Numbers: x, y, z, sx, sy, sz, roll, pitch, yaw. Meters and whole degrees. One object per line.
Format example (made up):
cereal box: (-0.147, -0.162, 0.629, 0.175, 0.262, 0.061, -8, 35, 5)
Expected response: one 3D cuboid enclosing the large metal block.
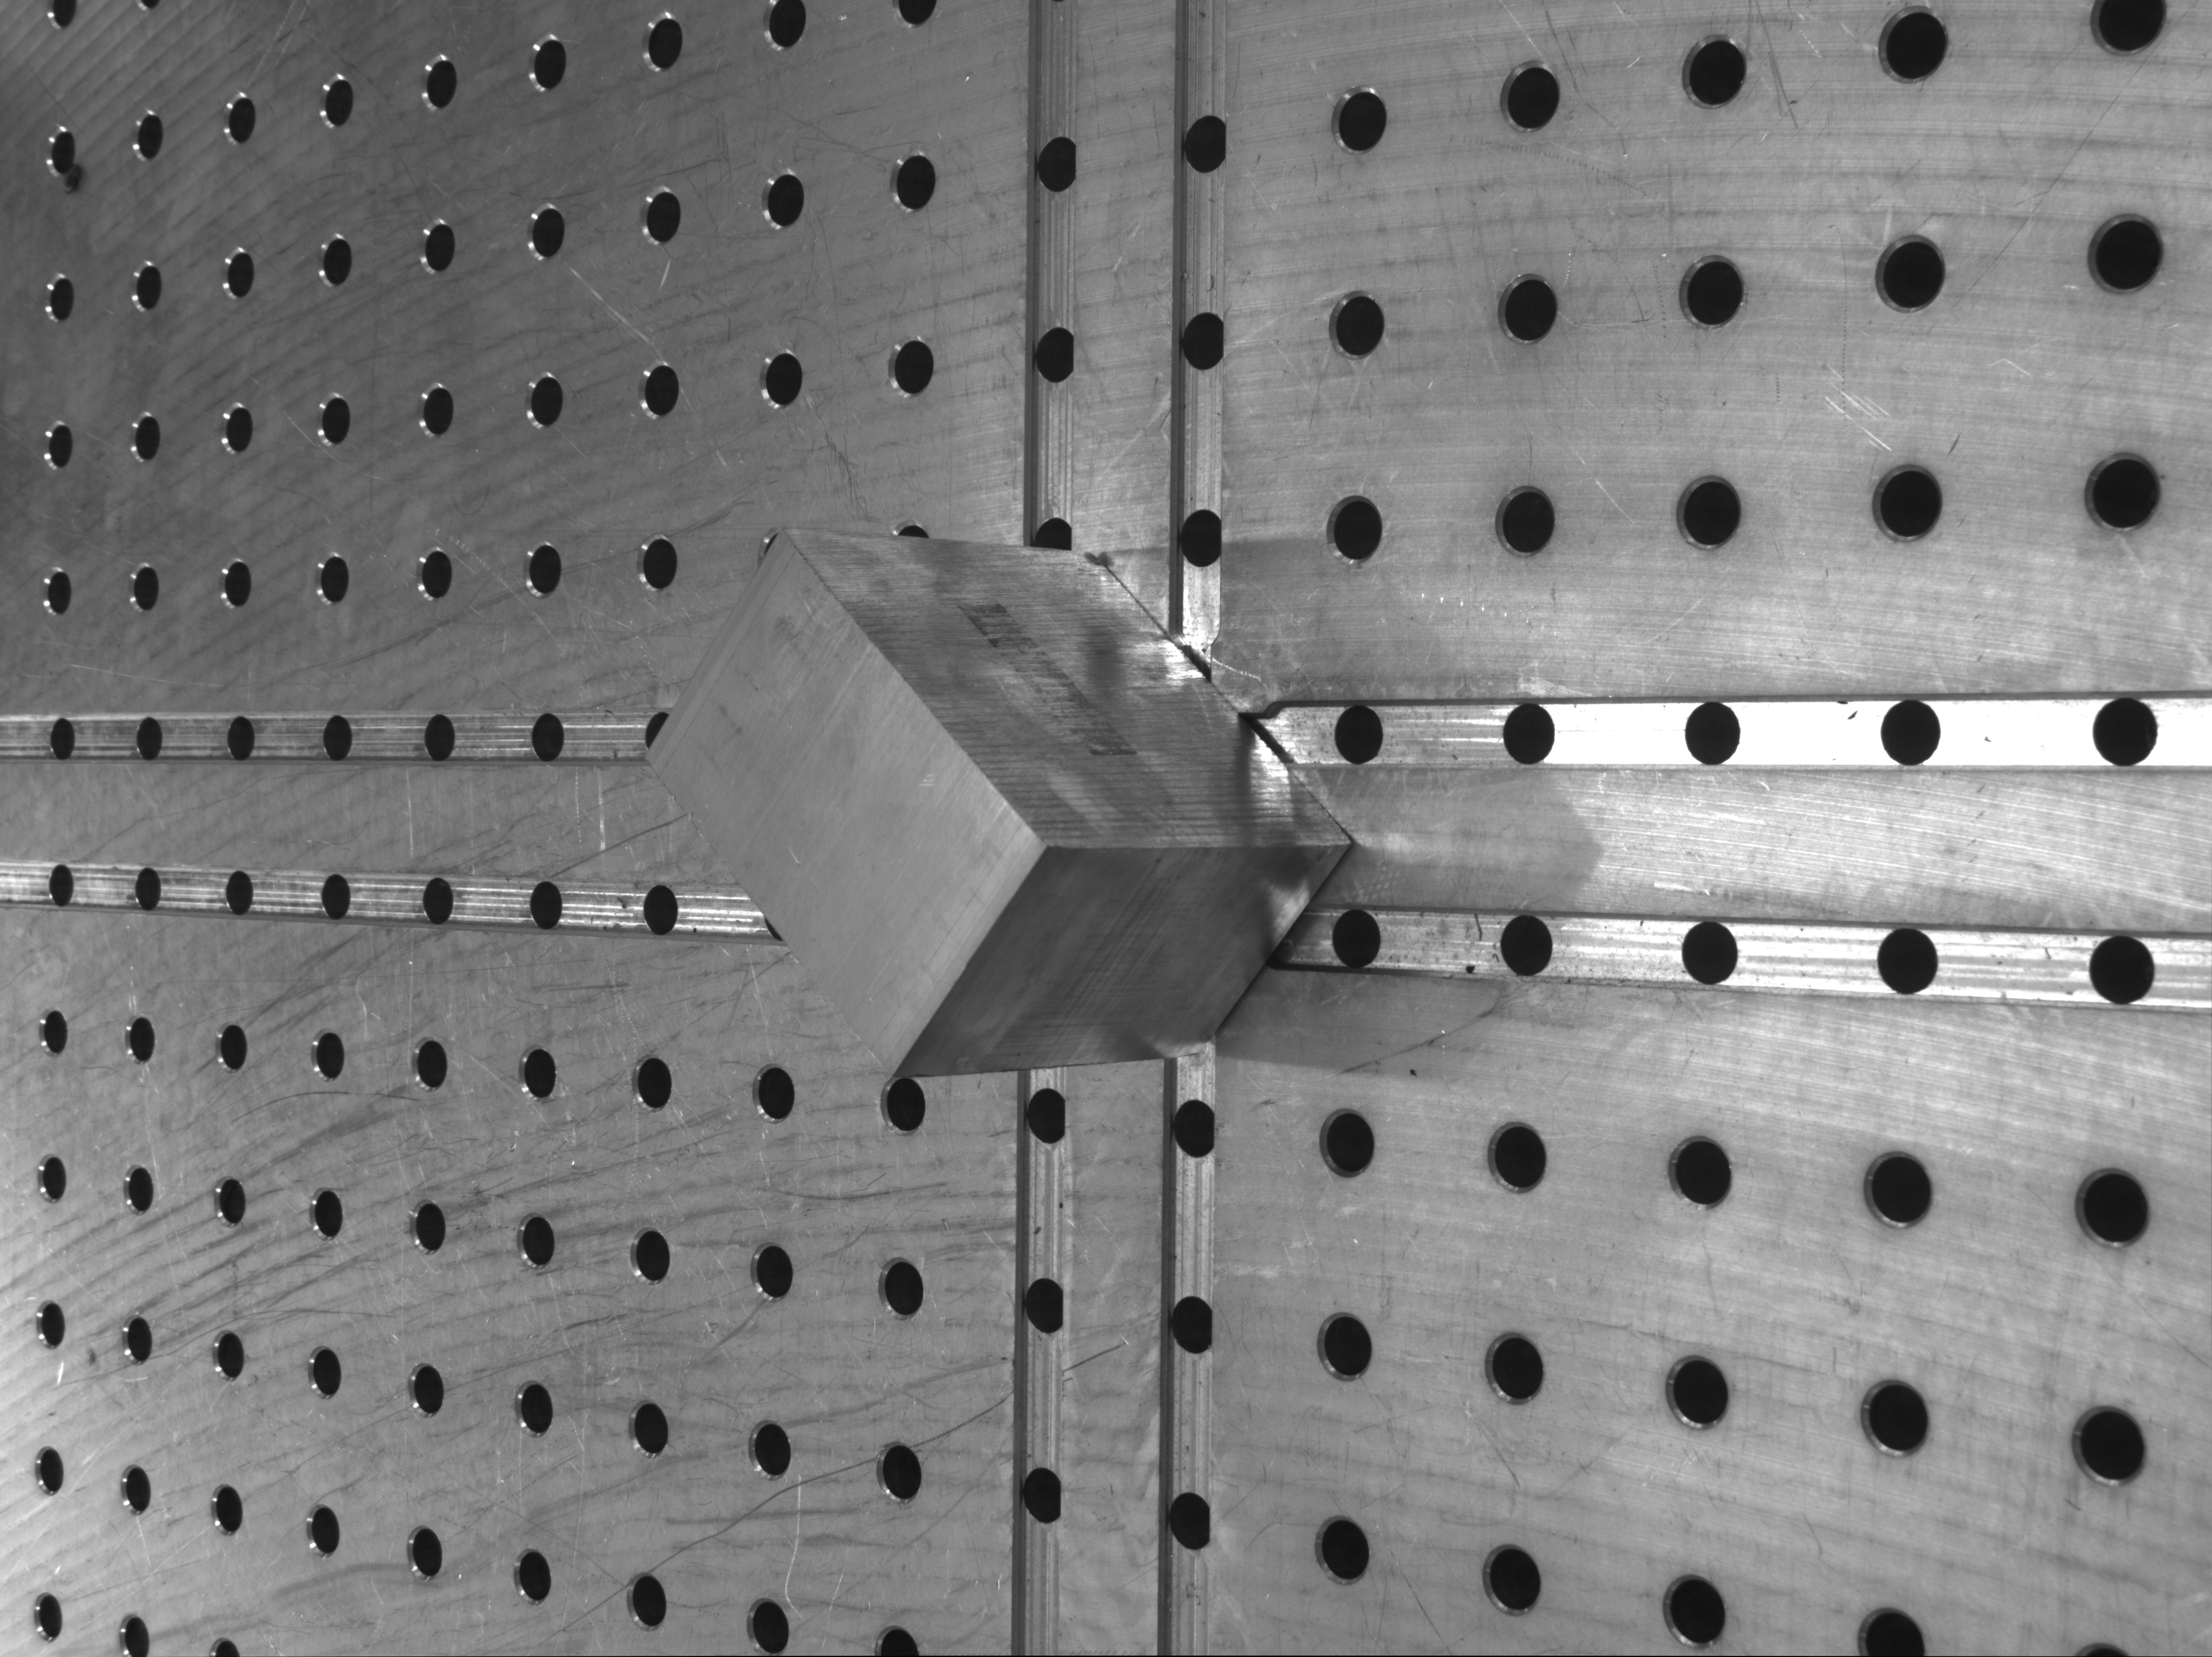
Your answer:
large metal block: (-0.019, -0.005, 0.628, 0.080, 0.080, 0.050, 49, 119, 29)
